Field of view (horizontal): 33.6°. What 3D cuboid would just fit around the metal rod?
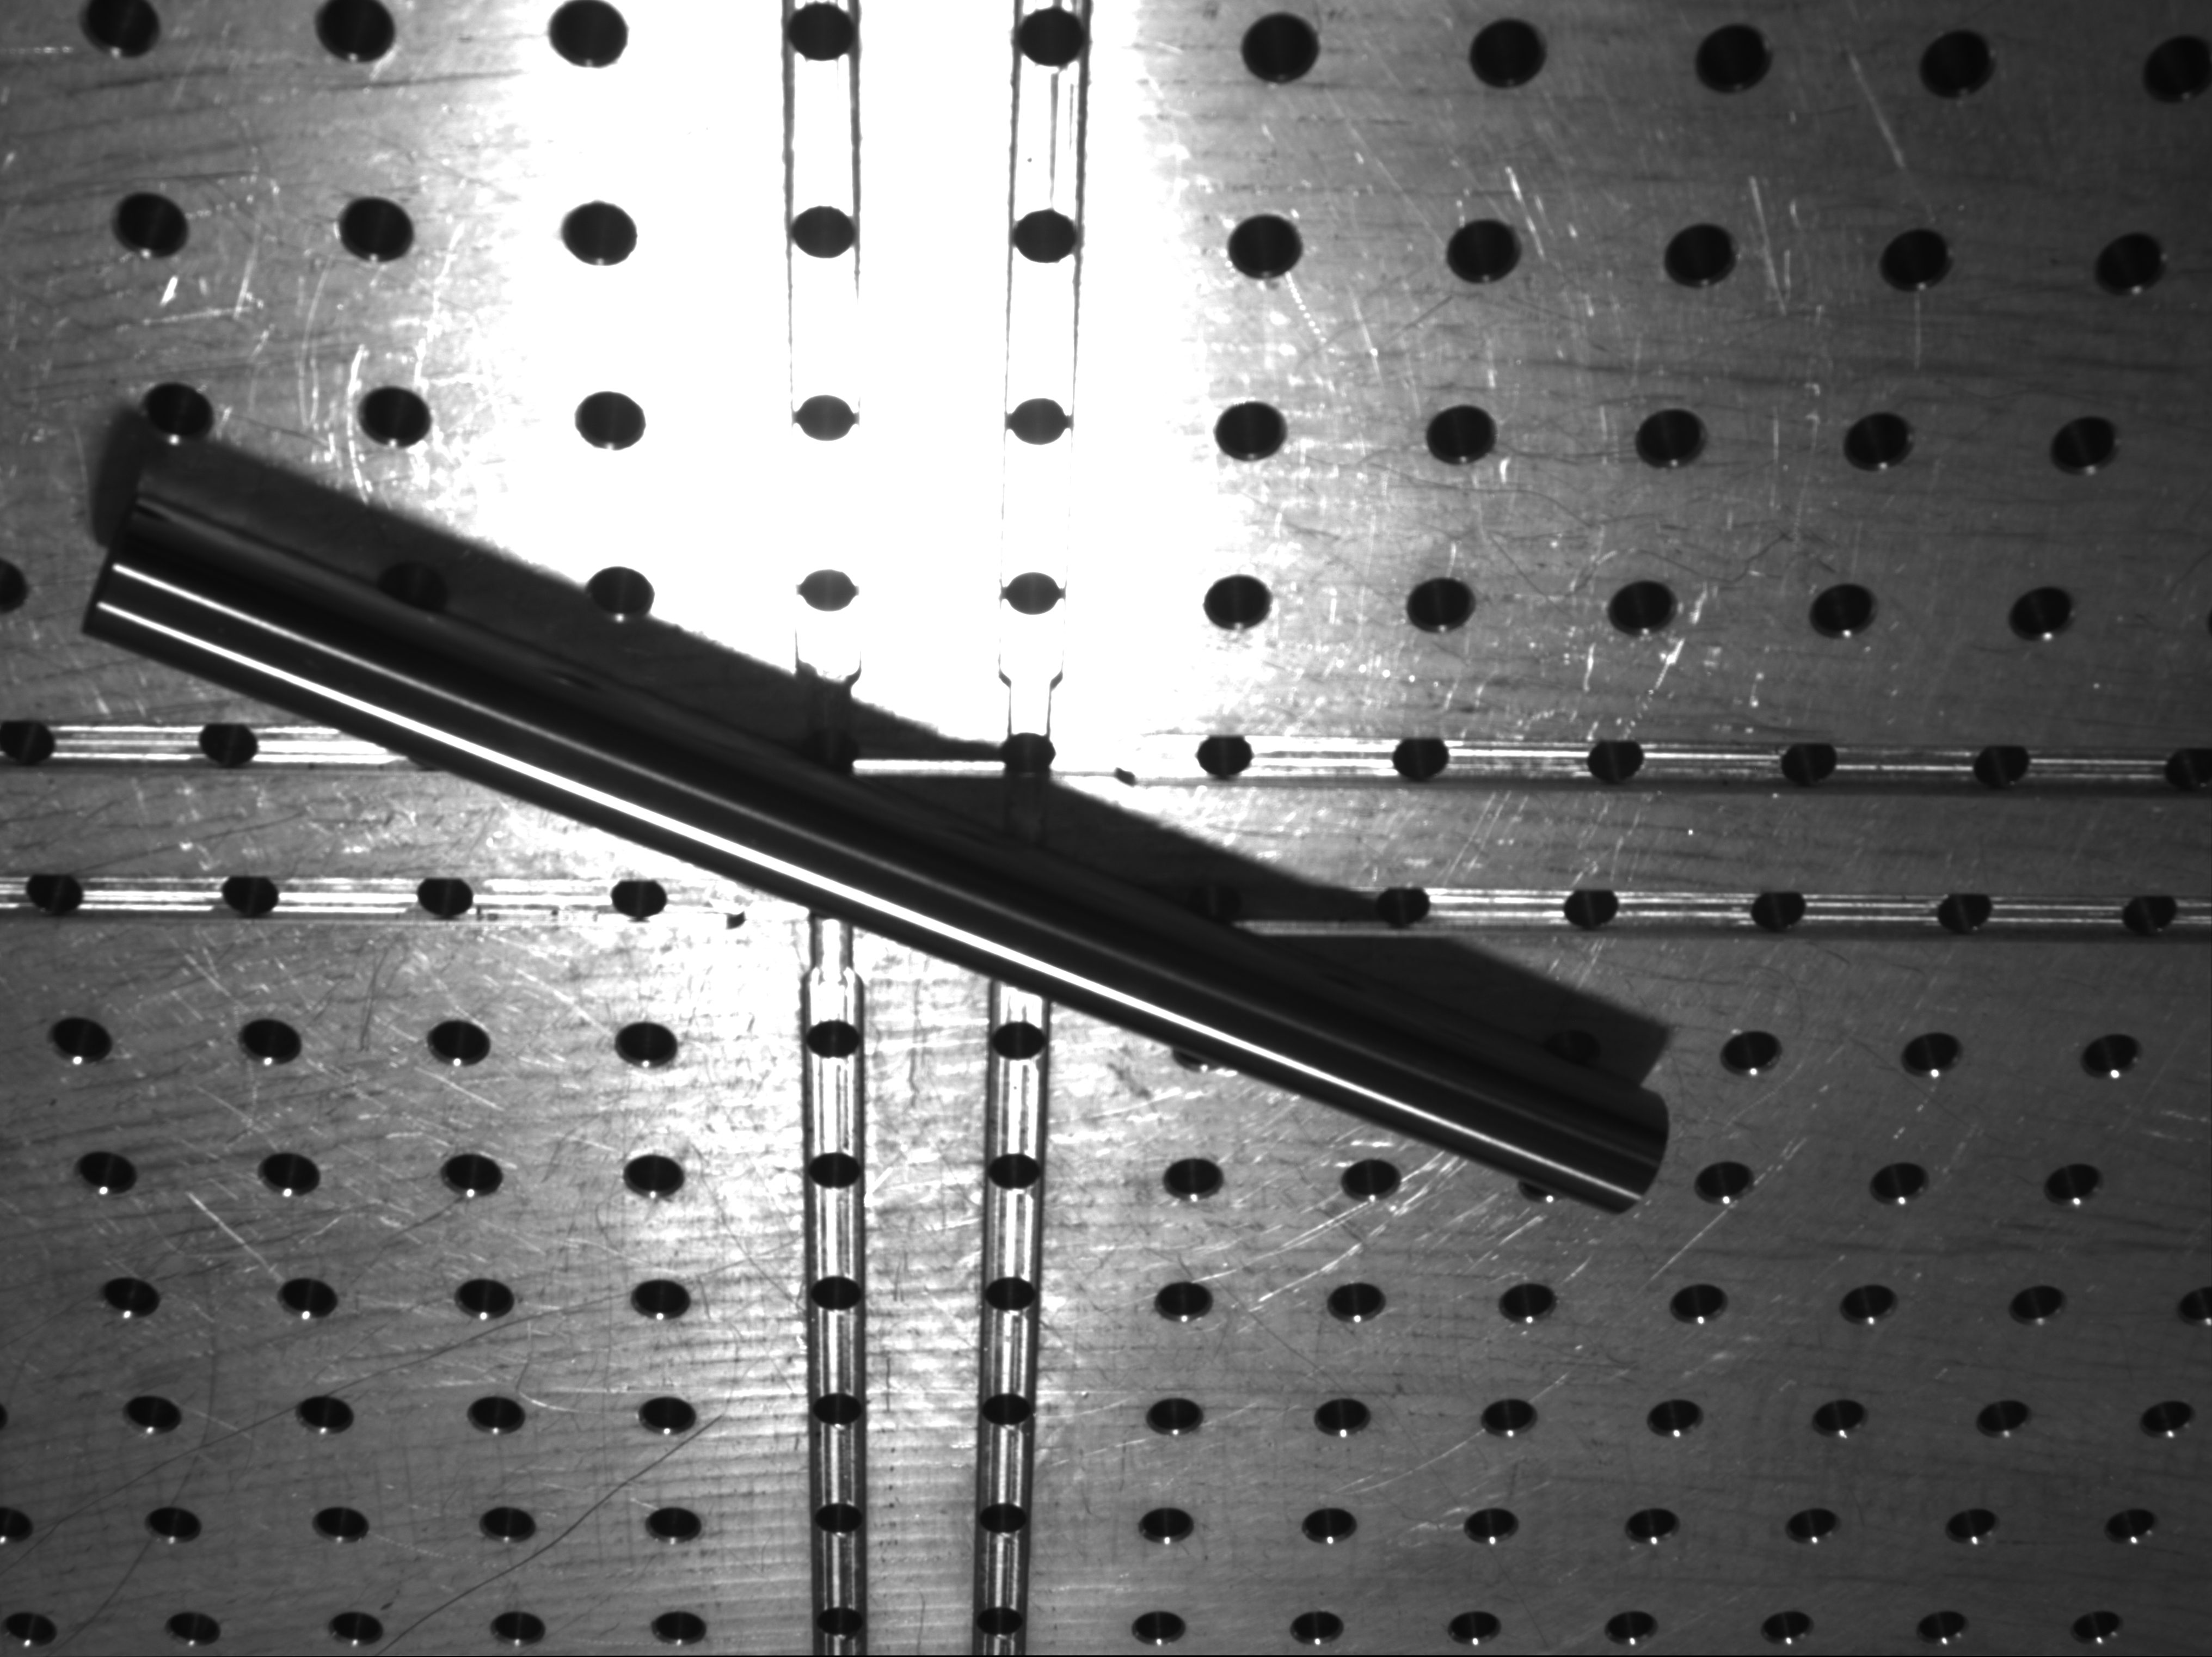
[{"bbox_3d":[-0.023,0.010,0.649,0.301,0.025,0.025,22,126,-19],"label":"metal rod"}]
